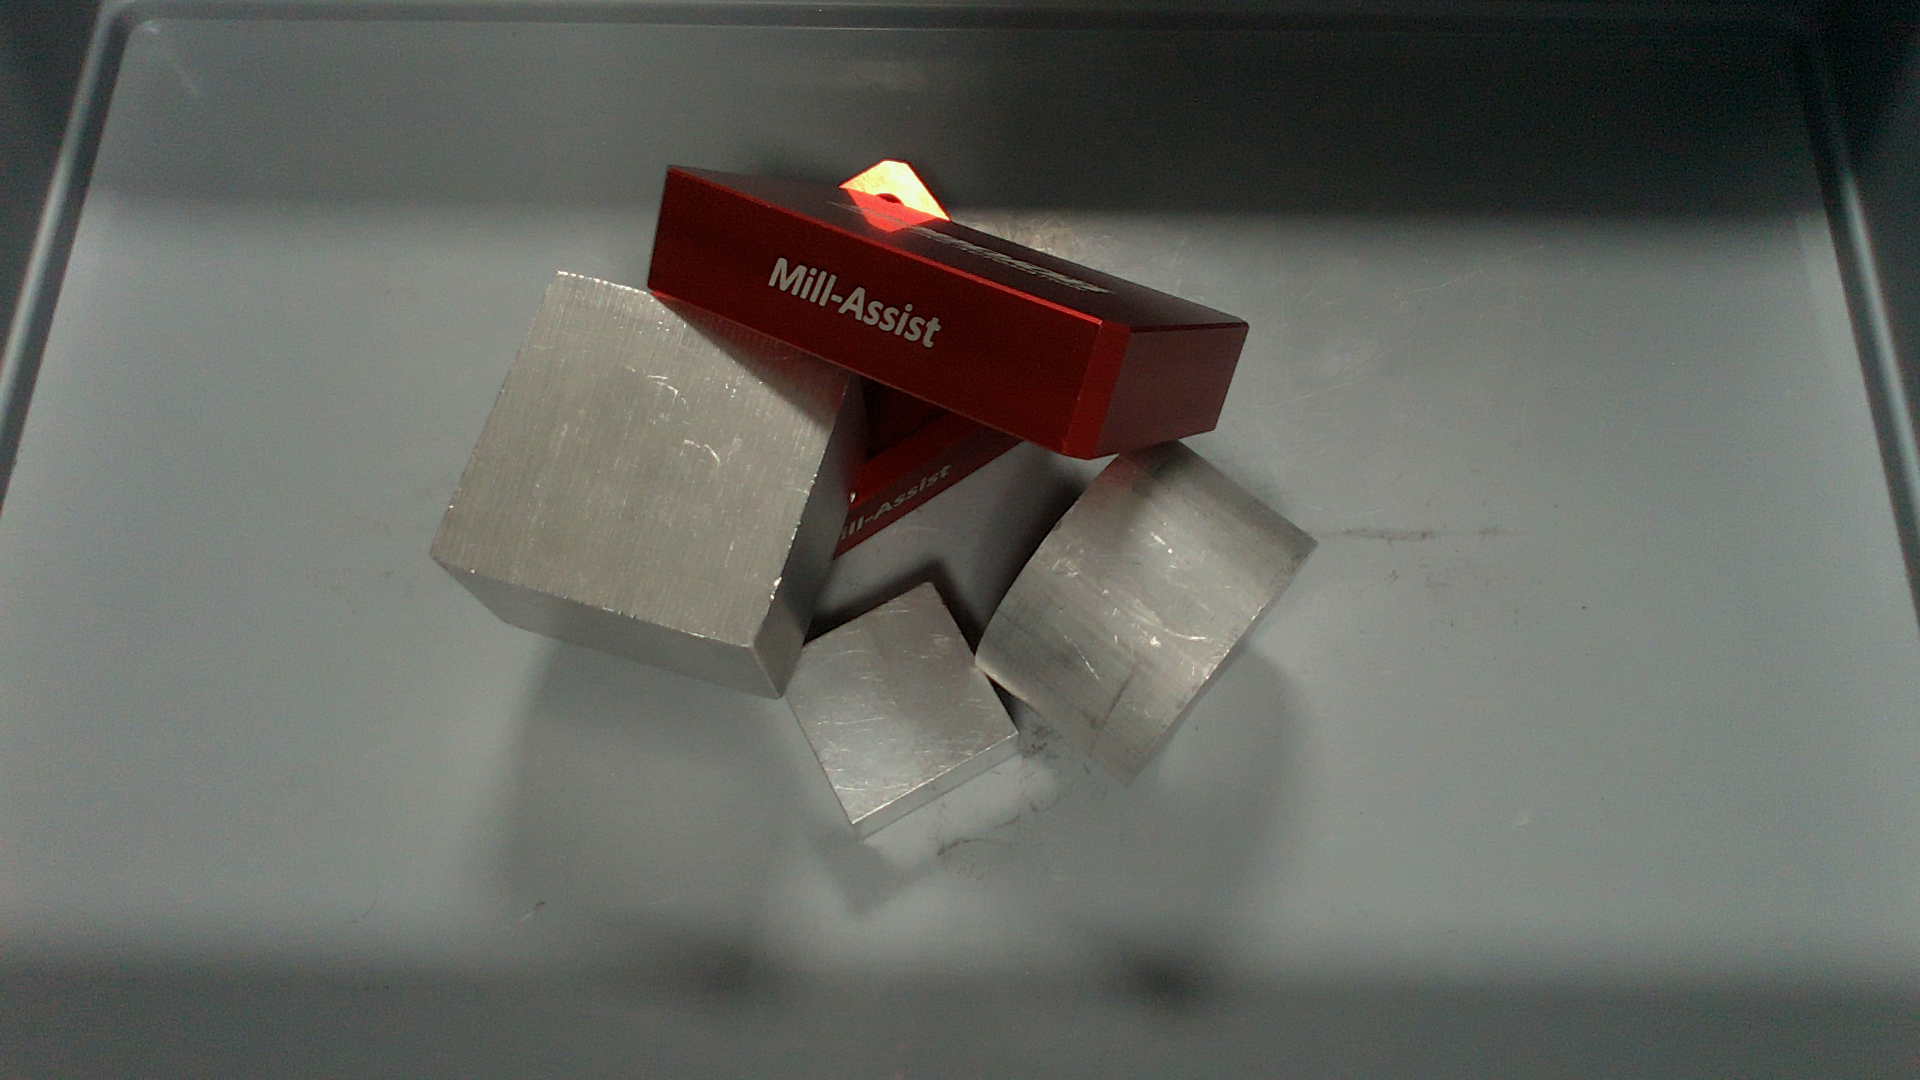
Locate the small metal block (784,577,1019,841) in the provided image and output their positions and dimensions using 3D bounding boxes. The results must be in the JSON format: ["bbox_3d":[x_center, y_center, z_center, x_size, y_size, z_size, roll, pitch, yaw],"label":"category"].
[{"bbox_3d":[-0.018,0.046,0.377,0.050,0.025,0.050,-28,72,-10],"label":"small metal block"}]

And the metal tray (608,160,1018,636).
[{"bbox_3d":[-0.047,-0.044,0.406,0.130,0.030,0.090,-32,73,-11],"label":"metal tray"}]

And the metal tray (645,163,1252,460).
[{"bbox_3d":[-0.002,-0.061,0.350,0.130,0.090,0.030,24,110,24],"label":"metal tray"}]

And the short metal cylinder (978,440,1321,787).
[{"bbox_3d":[0.049,0.017,0.359,0.050,0.080,0.080,37,74,13],"label":"short metal cylinder"}]

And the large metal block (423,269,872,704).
[{"bbox_3d":[-0.074,-0.013,0.350,0.080,0.050,0.080,15,71,6],"label":"large metal block"}]
